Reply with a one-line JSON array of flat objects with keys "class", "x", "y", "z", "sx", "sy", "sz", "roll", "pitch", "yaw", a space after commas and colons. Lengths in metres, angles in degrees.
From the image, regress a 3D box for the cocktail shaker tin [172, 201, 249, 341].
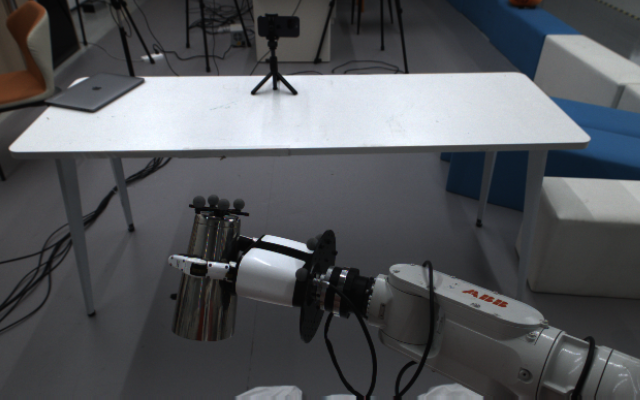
[{"class": "cocktail shaker tin", "x": -0.159, "y": 0.107, "z": 0.707, "sx": 0.093, "sy": 0.170, "sz": 0.093, "roll": 8, "pitch": 3, "yaw": 0}]
